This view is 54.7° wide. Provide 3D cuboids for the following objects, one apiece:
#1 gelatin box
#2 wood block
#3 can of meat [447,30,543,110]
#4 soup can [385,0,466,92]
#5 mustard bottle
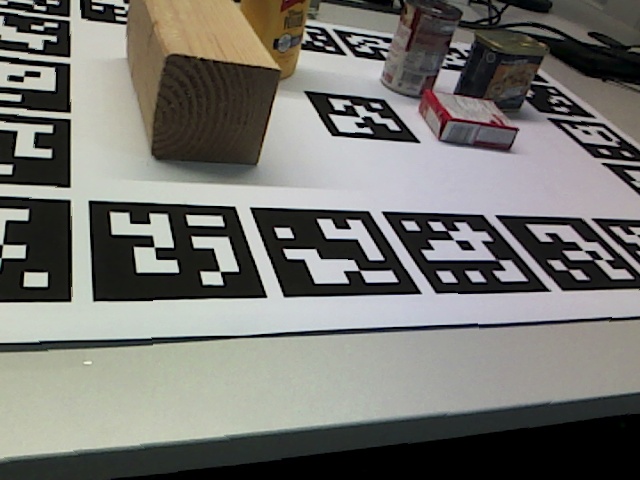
[{"bbox_3d":[0.170,-0.135,0.691,0.089,0.030,0.073,5,38,-13],"label":"gelatin box"},{"bbox_3d":[-0.113,-0.160,0.561,0.090,0.090,0.207,2,33,-23],"label":"wood block"},{"bbox_3d":[0.217,-0.210,0.777,0.101,0.084,0.058,-8,43,-35],"label":"can of meat"},{"bbox_3d":[0.125,-0.239,0.746,0.068,0.102,0.068,11,37,-9],"label":"soup can"},{"bbox_3d":[-0.044,-0.261,0.650,0.095,0.191,0.059,-20,48,-43],"label":"mustard bottle"}]
